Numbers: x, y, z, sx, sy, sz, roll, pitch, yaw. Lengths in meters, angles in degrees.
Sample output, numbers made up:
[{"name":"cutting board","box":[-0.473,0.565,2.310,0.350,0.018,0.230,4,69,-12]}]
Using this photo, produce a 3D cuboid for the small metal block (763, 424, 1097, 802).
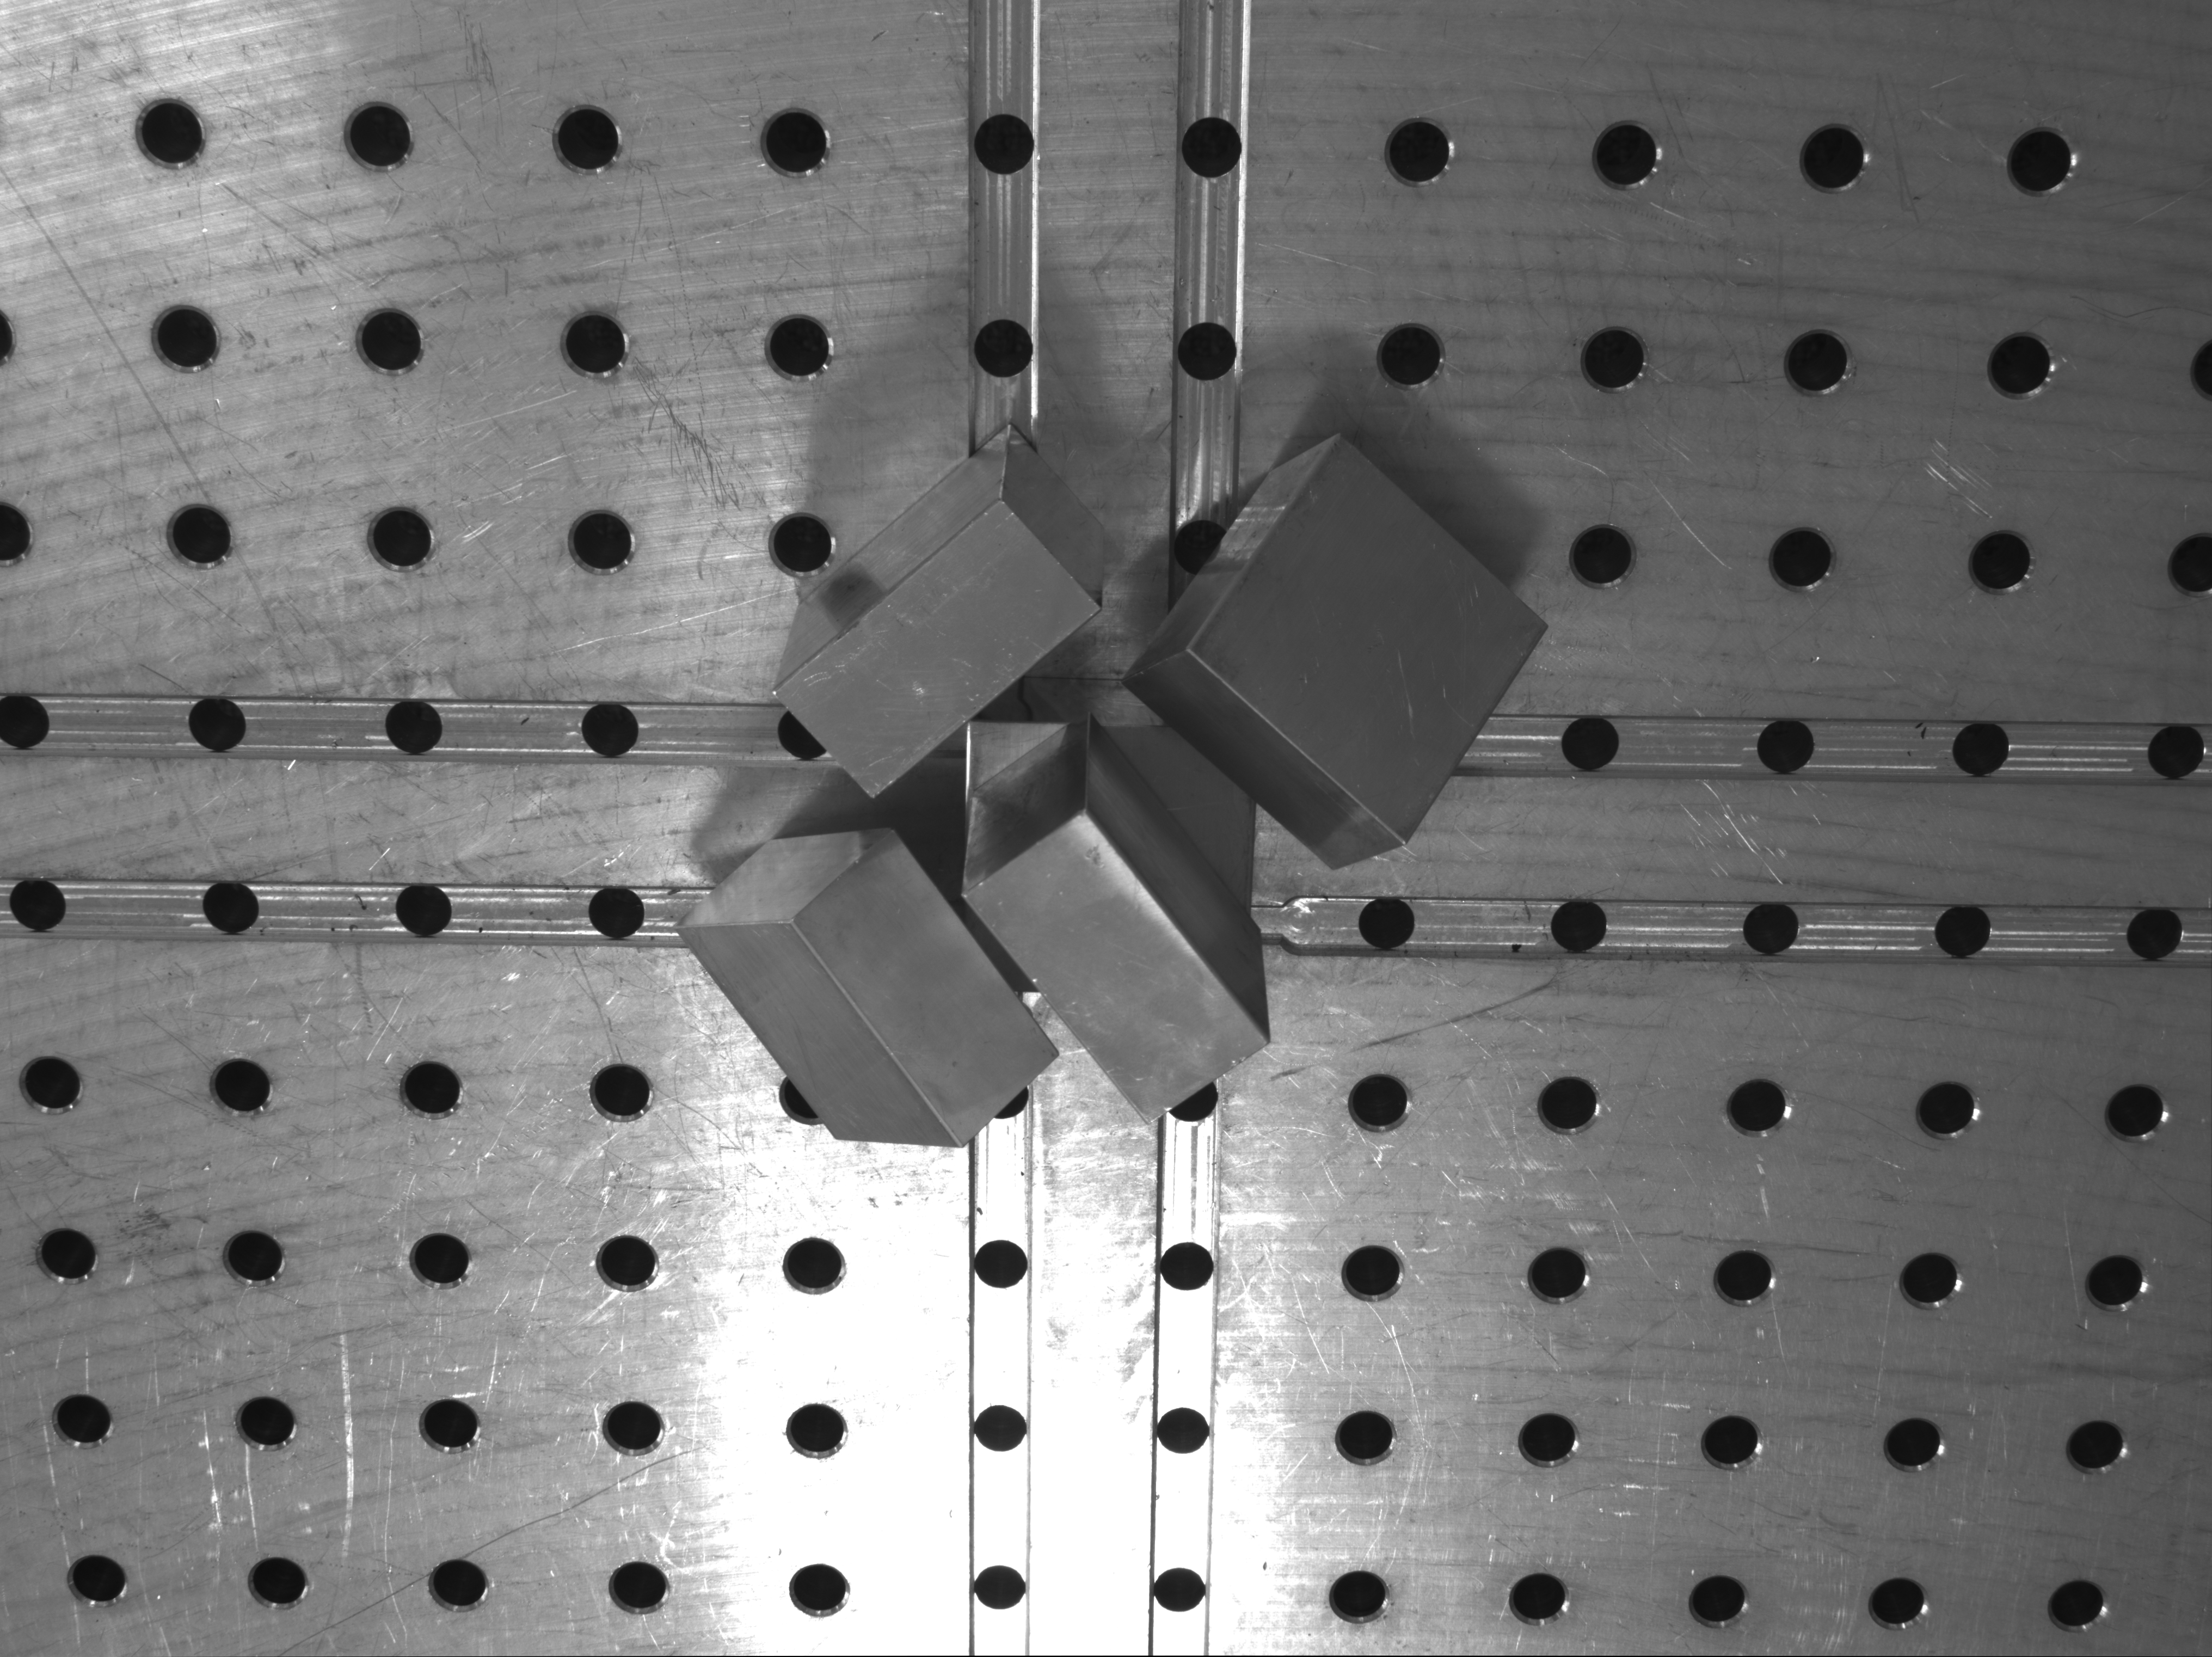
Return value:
[{"name":"small metal block","box":[-0.029,-0.037,0.620,0.050,0.050,0.025,-39,105,13]}]

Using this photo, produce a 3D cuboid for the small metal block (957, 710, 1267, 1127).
[{"name":"small metal block","box":[0.001,0.014,0.612,0.025,0.050,0.050,-35,107,11]}]

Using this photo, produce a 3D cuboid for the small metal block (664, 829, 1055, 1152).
[{"name":"small metal block","box":[-0.043,0.028,0.641,0.025,0.050,0.050,-43,108,-25]}]

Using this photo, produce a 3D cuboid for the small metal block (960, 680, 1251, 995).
[{"name":"small metal block","box":[0.000,0.001,0.647,0.050,0.025,0.050,0,110,-1]}]

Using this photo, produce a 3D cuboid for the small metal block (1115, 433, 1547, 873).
[{"name":"small metal block","box":[0.038,-0.029,0.622,0.050,0.025,0.050,41,65,-13]}]
